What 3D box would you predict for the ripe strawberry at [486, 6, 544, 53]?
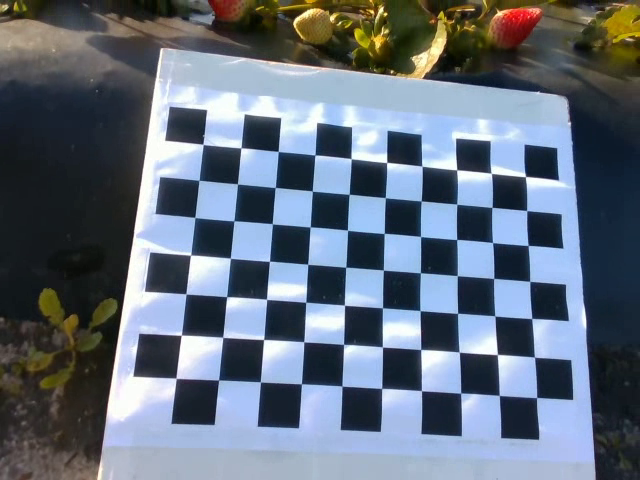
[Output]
[{"bbox_3d":[0.140,-0.153,0.403,0.042,0.037,0.045,-5,-17,-38],"label":"ripe strawberry"}]
